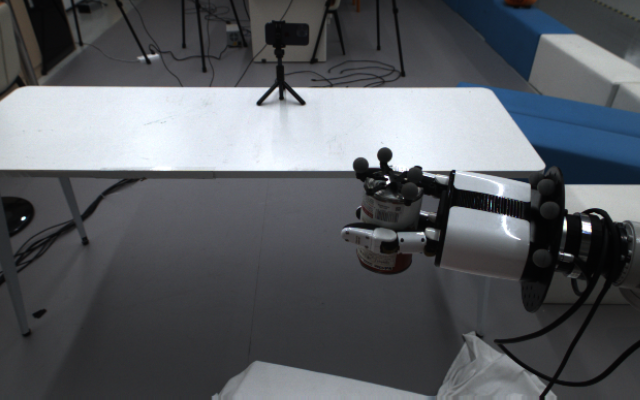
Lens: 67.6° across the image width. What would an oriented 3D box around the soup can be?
[{"bbox_3d":[0.081,0.025,0.559,0.067,0.101,0.067,2,32,-1],"label":"soup can"}]
